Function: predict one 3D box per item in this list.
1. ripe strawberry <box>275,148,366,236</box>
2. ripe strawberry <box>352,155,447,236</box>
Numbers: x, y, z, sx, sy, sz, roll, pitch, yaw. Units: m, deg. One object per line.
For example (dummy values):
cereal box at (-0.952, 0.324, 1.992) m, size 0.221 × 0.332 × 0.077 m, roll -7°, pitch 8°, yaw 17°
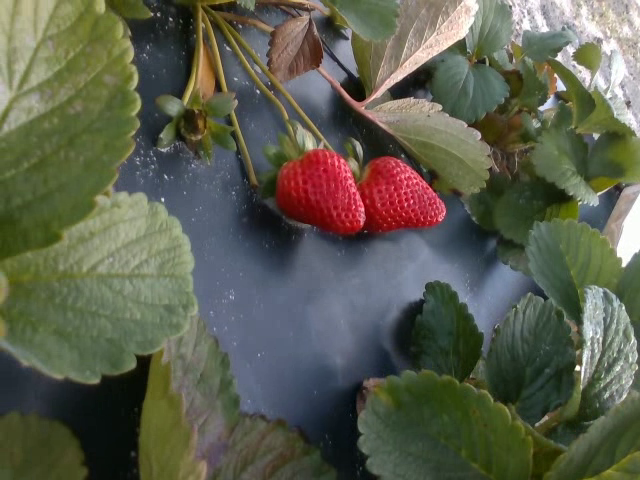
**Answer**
ripe strawberry at (0.004, -0.024, 0.317) m, size 0.048 × 0.056 × 0.041 m, roll -13°, pitch -30°, yaw -49°
ripe strawberry at (0.051, -0.027, 0.359) m, size 0.064 × 0.058 × 0.051 m, roll 25°, pitch -43°, yaw 2°
